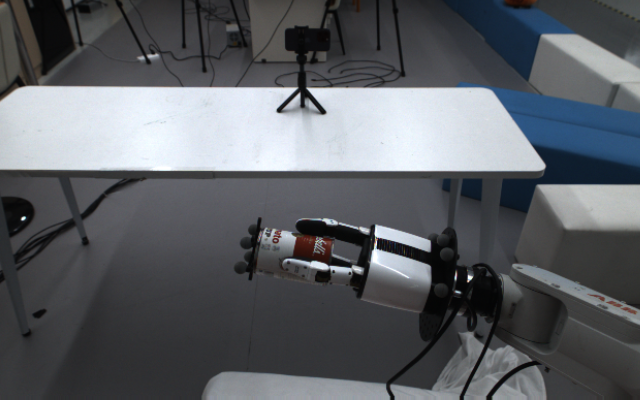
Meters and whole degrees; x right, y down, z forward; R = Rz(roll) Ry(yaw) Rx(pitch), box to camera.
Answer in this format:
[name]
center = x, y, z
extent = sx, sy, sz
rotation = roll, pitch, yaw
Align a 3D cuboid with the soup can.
[soup can]
center = -0.033, 0.079, 0.669
extent = 0.101, 0.067, 0.067
rotation = 10, 35, 1
